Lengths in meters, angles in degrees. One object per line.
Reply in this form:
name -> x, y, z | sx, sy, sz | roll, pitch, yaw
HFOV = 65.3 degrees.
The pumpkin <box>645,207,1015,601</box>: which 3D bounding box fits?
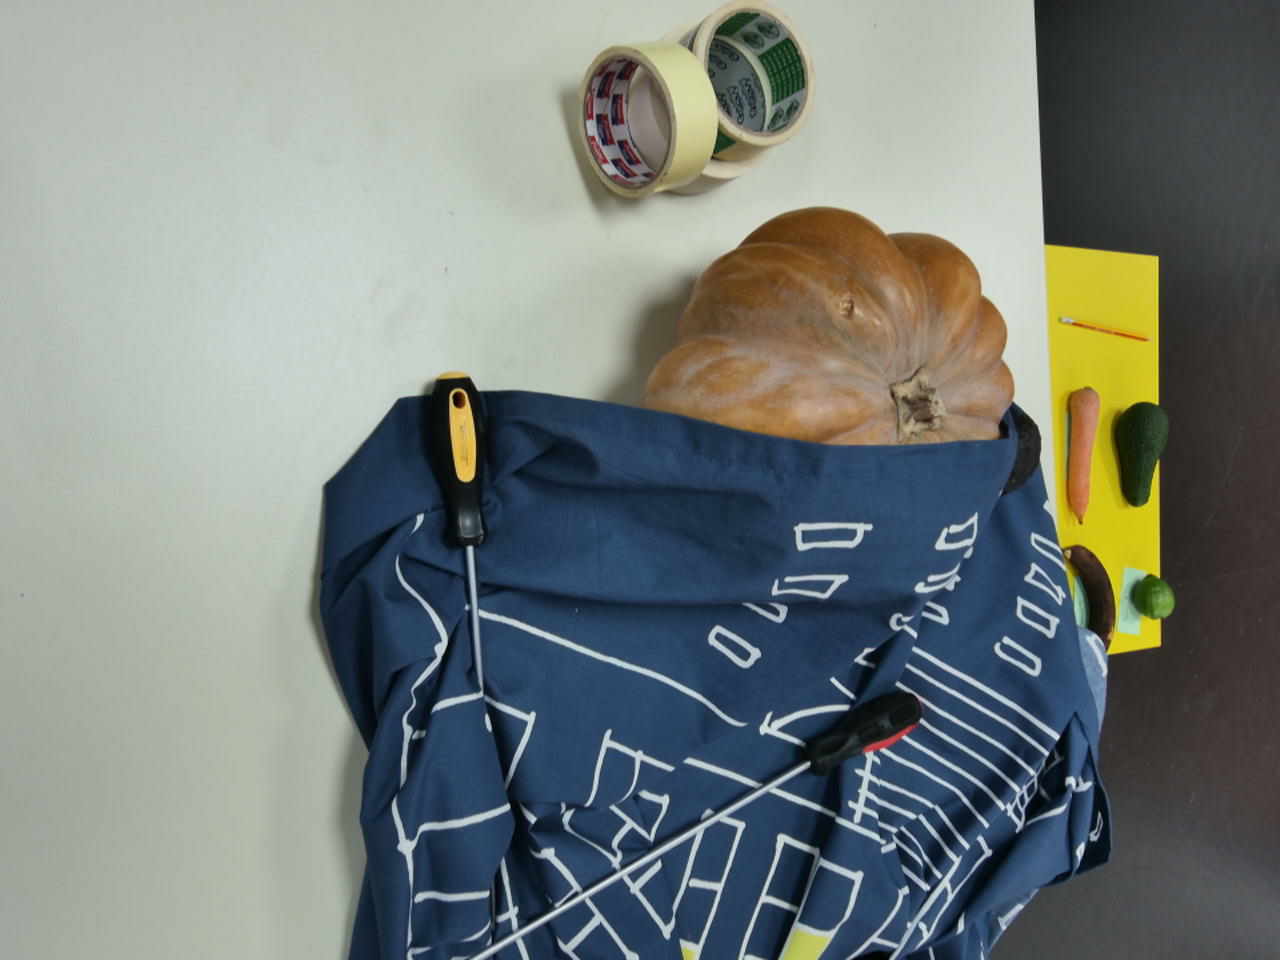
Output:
pumpkin -> 0.132, -0.049, 0.679 | 0.277, 0.181, 0.277 | -1, 91, -29
